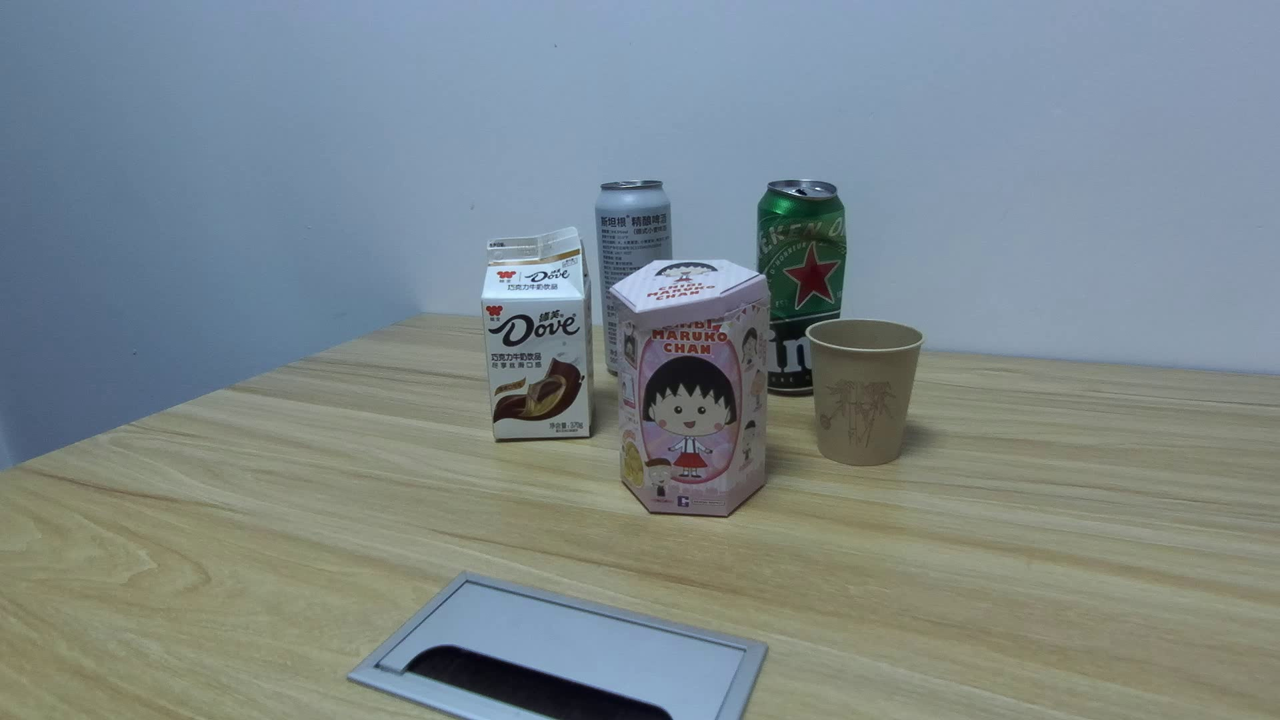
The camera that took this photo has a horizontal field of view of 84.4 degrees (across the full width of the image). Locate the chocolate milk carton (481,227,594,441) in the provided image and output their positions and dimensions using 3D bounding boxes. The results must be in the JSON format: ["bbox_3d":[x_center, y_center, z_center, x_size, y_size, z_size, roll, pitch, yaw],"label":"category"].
[{"bbox_3d":[-0.073,-0.022,0.529,0.075,0.148,0.074,-1,17,1],"label":"chocolate milk carton"}]

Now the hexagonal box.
[{"bbox_3d":[0.032,0.014,0.424,0.092,0.135,0.085,1,19,11],"label":"hexagonal box"}]

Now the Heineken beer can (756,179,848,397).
[{"bbox_3d":[0.128,-0.057,0.573,0.068,0.168,0.069,7,23,19],"label":"Heineken beer can"}]

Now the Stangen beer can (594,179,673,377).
[{"bbox_3d":[-0.003,-0.069,0.630,0.067,0.171,0.067,-3,9,1],"label":"Stangen beer can"}]
